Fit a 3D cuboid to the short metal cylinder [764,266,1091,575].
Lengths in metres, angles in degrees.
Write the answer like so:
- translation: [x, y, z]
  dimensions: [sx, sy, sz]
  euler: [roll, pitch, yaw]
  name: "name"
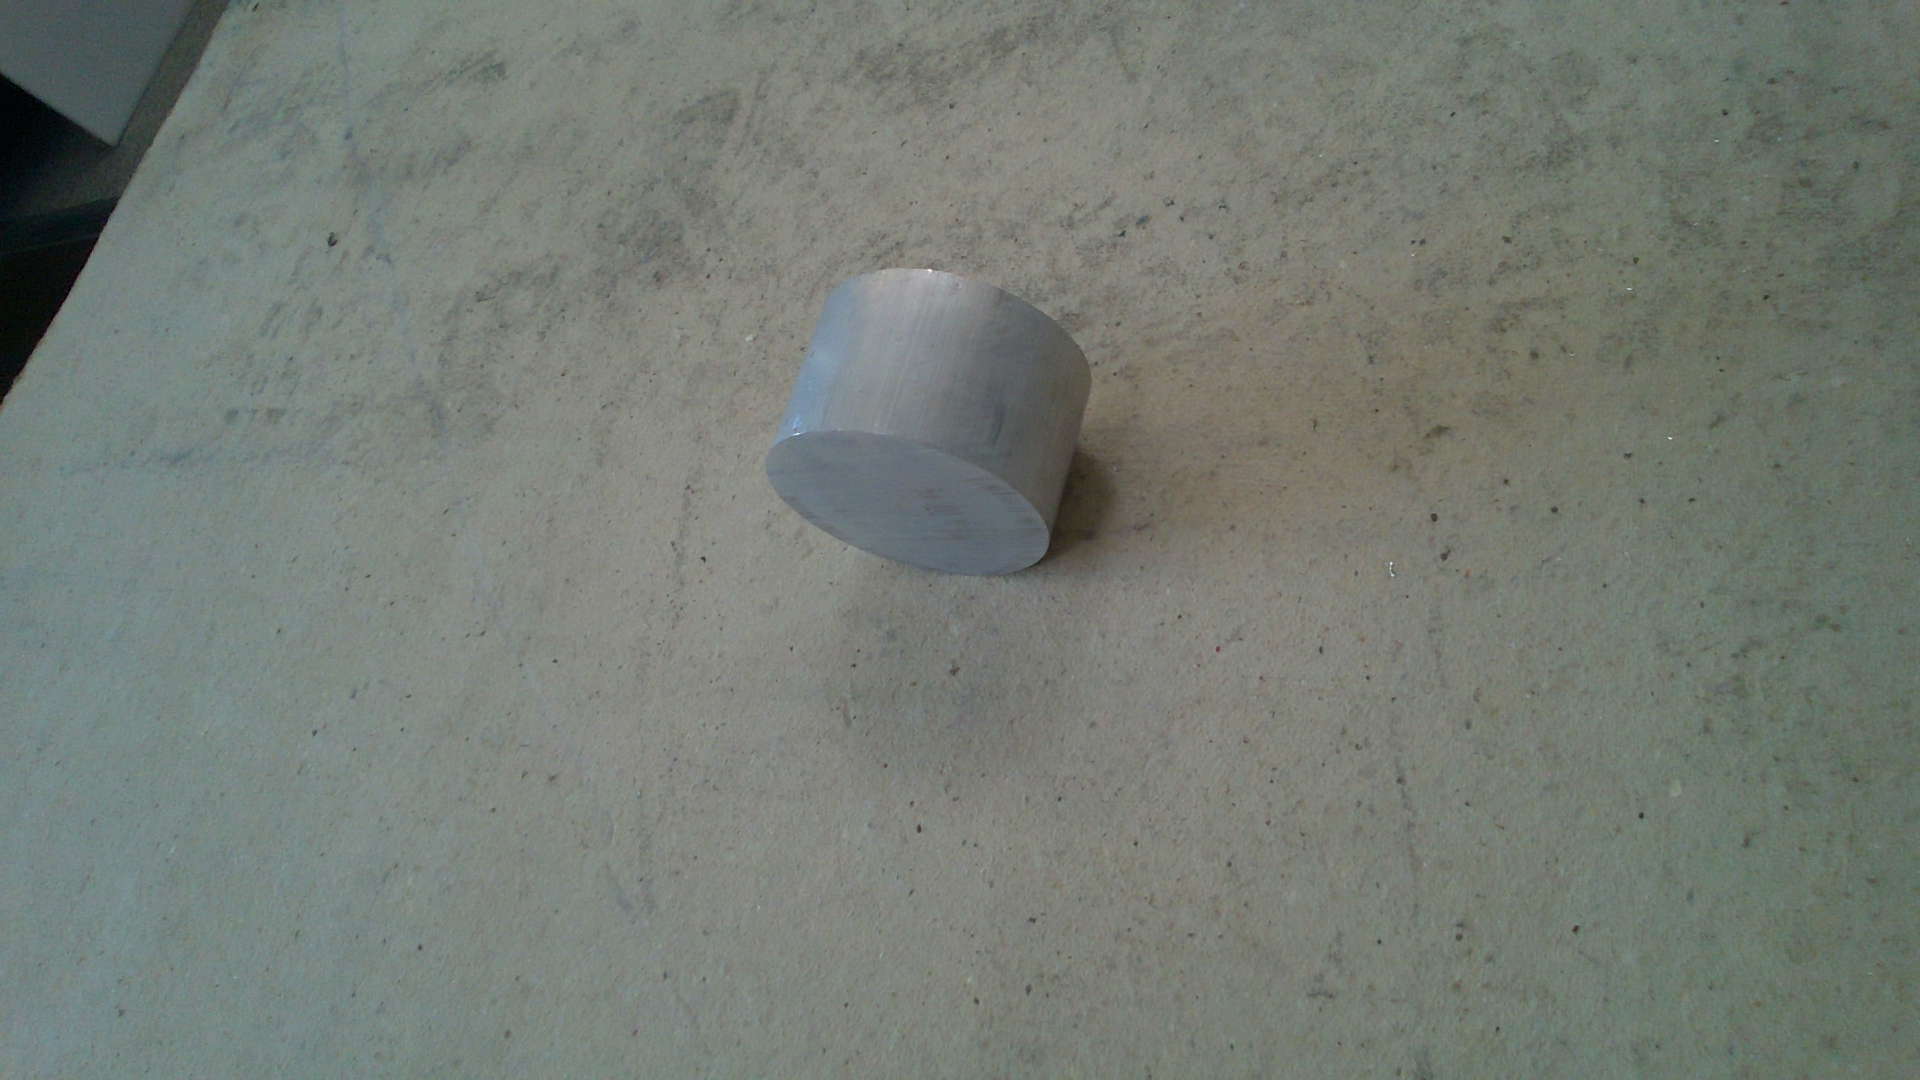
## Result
- translation: [-0.008, -0.031, 0.382]
  dimensions: [0.080, 0.080, 0.050]
  euler: [2, 62, 29]
  name: "short metal cylinder"
